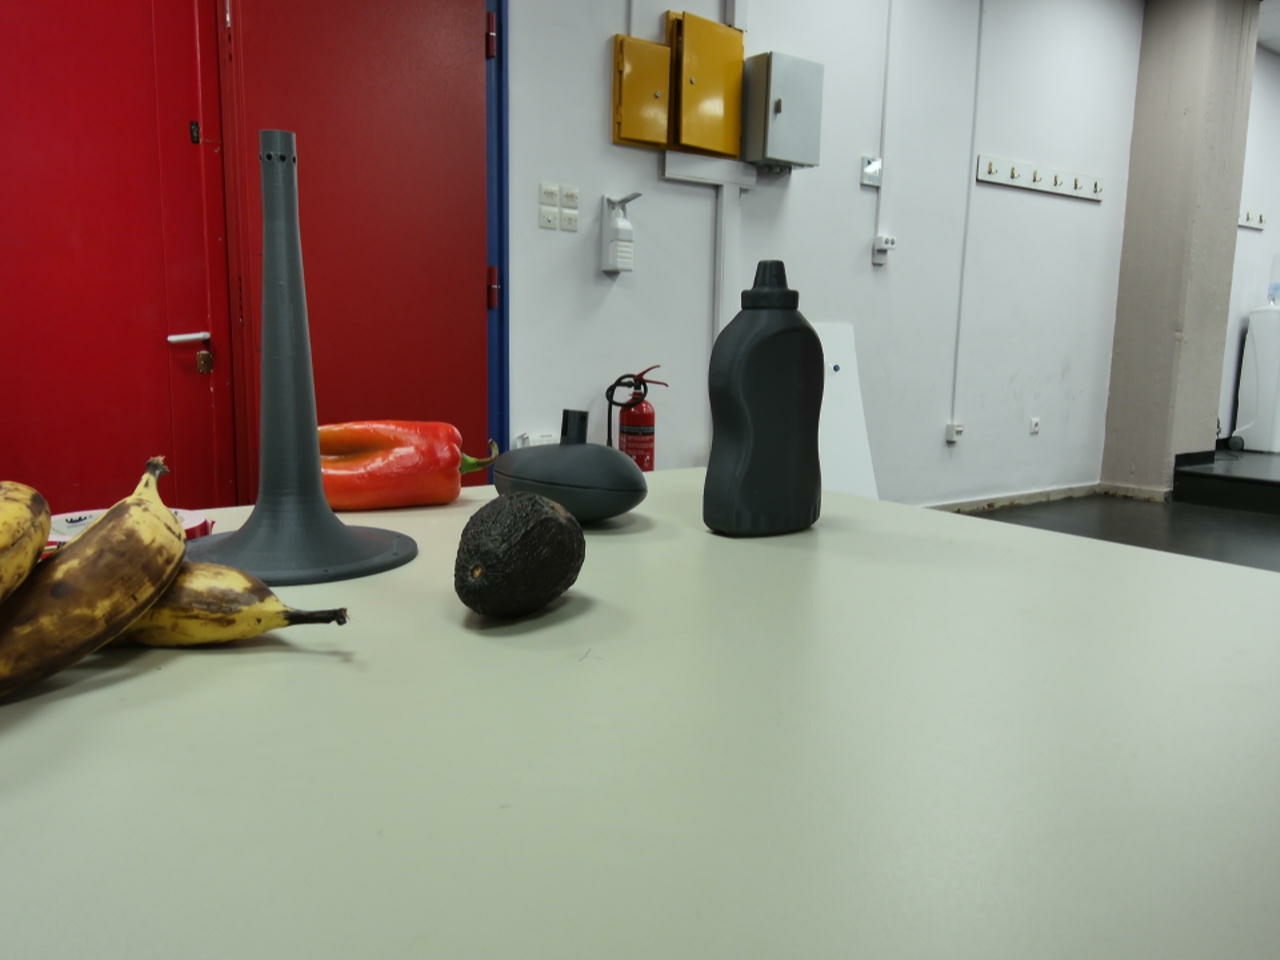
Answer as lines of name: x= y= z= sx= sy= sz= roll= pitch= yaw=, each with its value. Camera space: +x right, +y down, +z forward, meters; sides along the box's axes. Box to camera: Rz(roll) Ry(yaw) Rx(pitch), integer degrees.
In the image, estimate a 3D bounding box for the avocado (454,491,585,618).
avocado: x=-0.065 y=0.038 z=0.519 sx=0.062 sy=0.062 sz=0.092 roll=4 pitch=8 yaw=29
